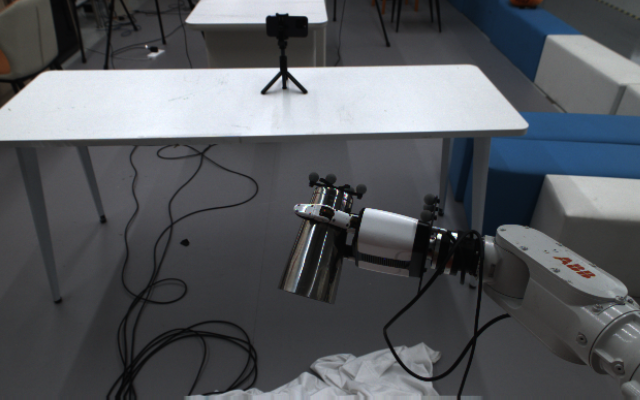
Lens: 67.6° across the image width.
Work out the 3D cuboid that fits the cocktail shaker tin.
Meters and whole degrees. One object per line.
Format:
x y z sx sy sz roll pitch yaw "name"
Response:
0.002 0.066 0.764 0.093 0.093 0.170 13 77 15 "cocktail shaker tin"
